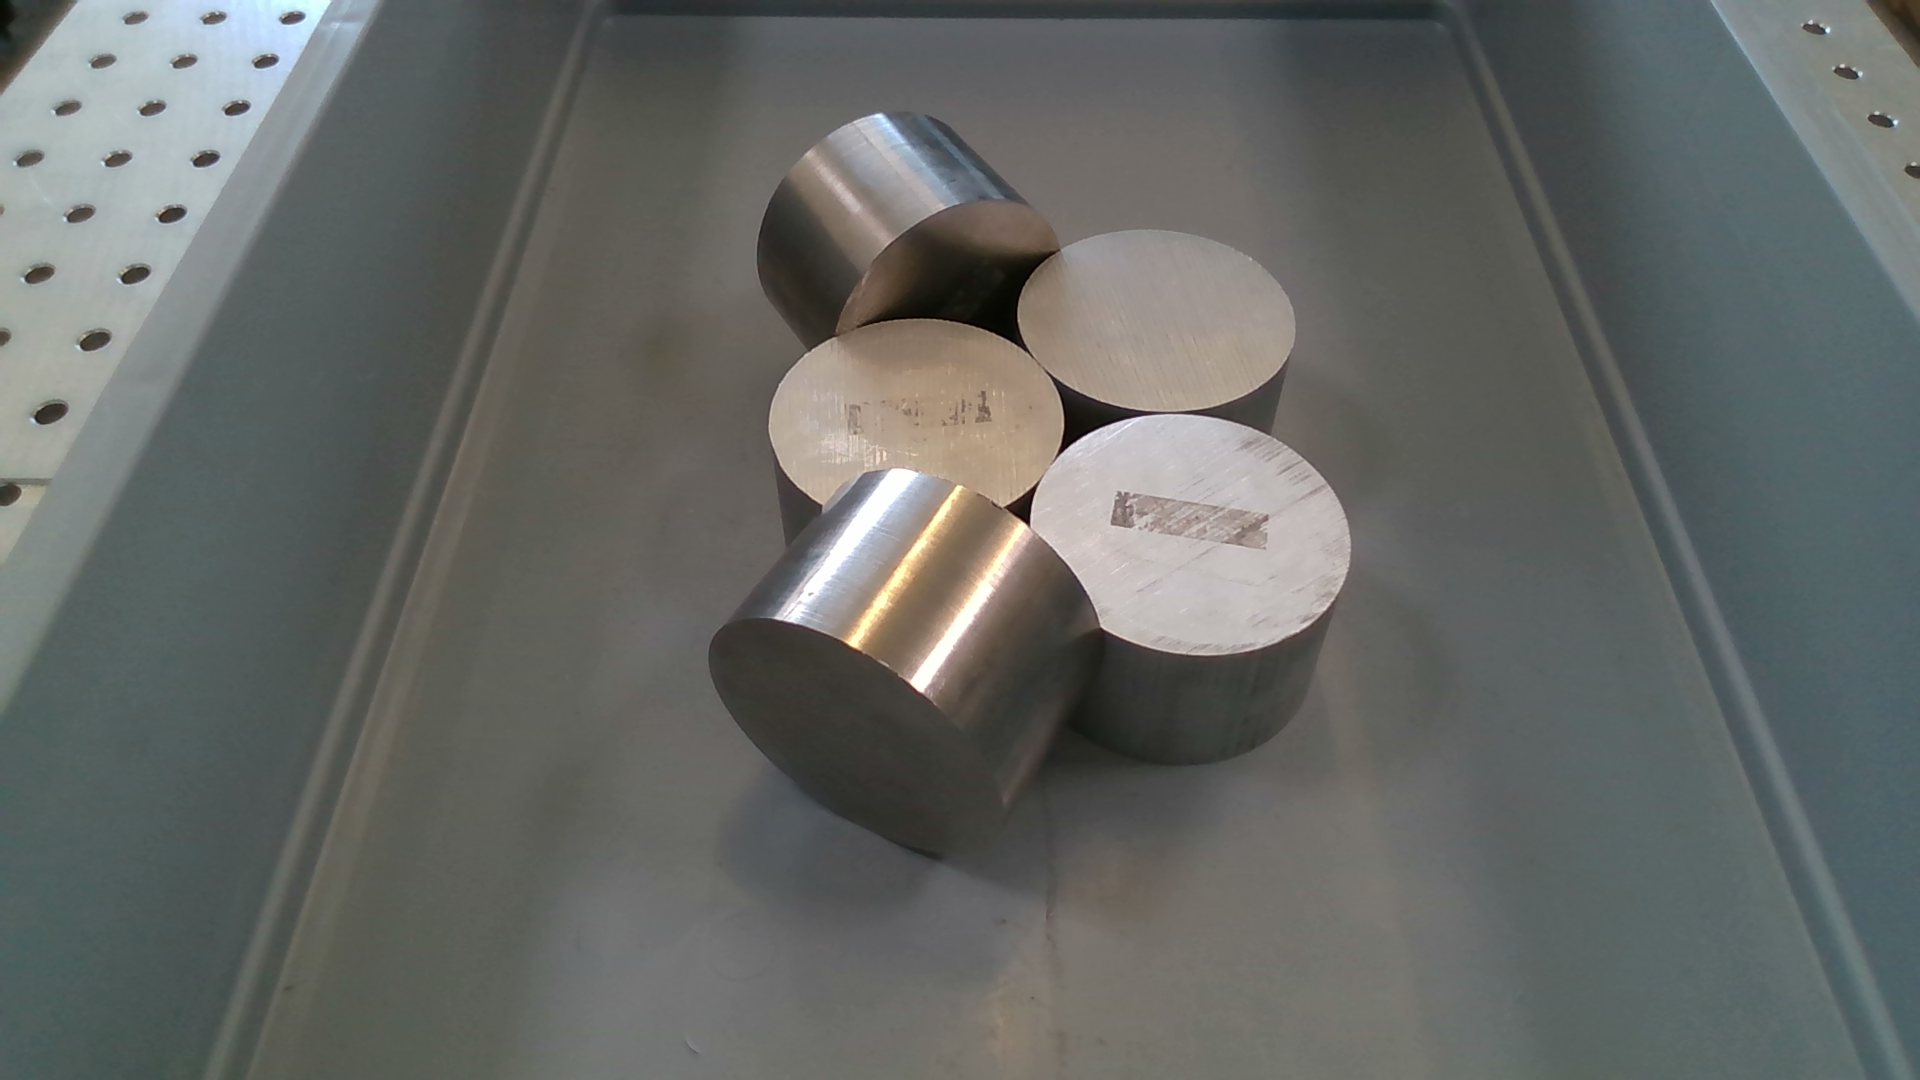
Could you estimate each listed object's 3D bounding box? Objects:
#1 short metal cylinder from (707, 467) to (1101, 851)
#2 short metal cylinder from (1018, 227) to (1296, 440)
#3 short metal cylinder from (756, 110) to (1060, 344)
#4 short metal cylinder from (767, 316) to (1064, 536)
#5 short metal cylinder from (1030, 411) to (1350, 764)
[{"bbox_3d":[-0.013,0.029,0.332,0.080,0.080,0.050,23,54,18],"label":"short metal cylinder"},{"bbox_3d":[0.057,-0.050,0.417,0.080,0.050,0.080,0,50,0],"label":"short metal cylinder"},{"bbox_3d":[-0.016,-0.084,0.427,0.080,0.080,0.050,-24,54,-19],"label":"short metal cylinder"},{"bbox_3d":[-0.012,-0.018,0.391,0.080,0.050,0.080,0,50,0],"label":"short metal cylinder"},{"bbox_3d":[0.058,0.012,0.366,0.080,0.050,0.080,0,50,0],"label":"short metal cylinder"}]
